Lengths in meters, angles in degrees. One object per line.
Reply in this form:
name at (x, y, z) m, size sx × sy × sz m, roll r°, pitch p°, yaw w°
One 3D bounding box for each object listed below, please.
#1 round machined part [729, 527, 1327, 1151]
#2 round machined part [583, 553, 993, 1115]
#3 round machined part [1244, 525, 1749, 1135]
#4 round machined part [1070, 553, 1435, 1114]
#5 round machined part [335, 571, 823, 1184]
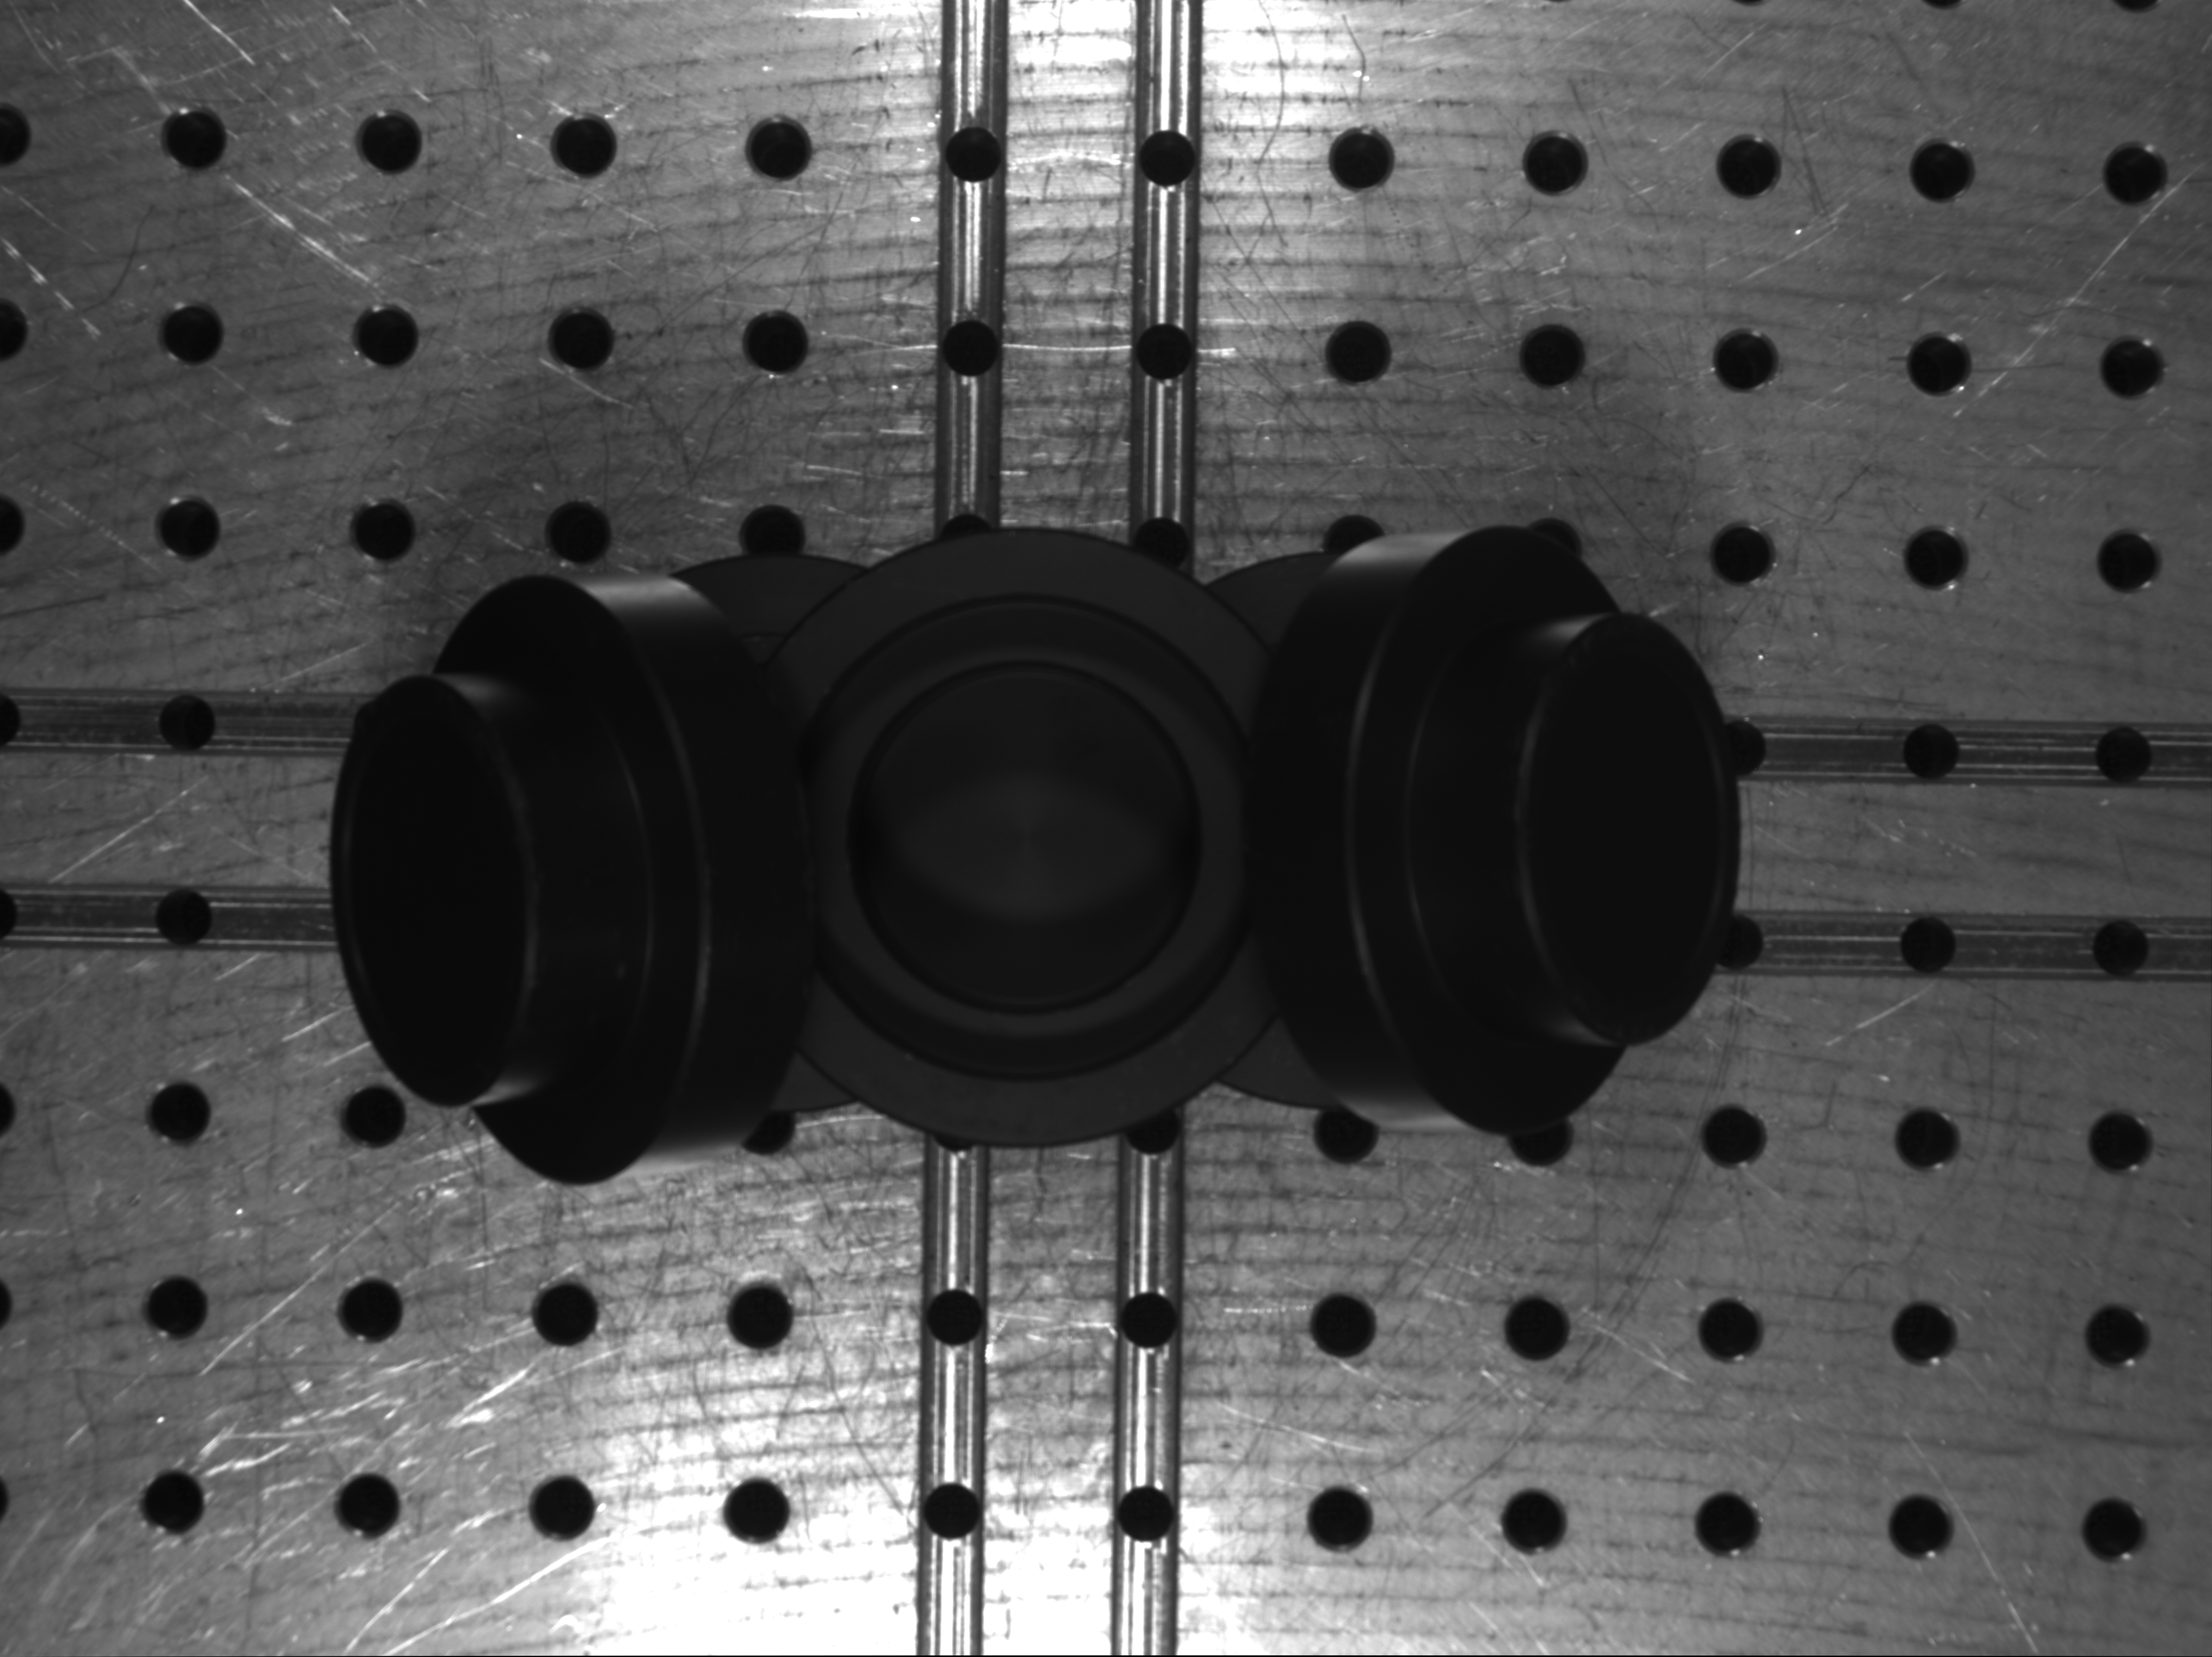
round machined part at (-0.012, 0.002, 0.596) m, size 0.098 × 0.042 × 0.098 m, roll 0°, pitch 90°, yaw 0°
round machined part at (-0.056, 0.001, 0.638) m, size 0.098 × 0.042 × 0.098 m, roll 0°, pitch 90°, yaw 0°
round machined part at (0.068, 0.000, 0.589) m, size 0.042 × 0.098 × 0.098 m, roll 0°, pitch 90°, yaw 40°
round machined part at (0.042, 0.001, 0.639) m, size 0.098 × 0.042 × 0.098 m, roll 0°, pitch 90°, yaw 0°
round machined part at (-0.090, 0.008, 0.587) m, size 0.042 × 0.098 × 0.098 m, roll -6°, pitch 90°, yaw -38°
